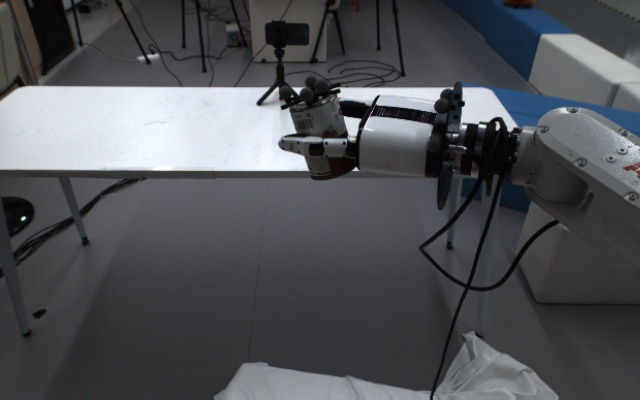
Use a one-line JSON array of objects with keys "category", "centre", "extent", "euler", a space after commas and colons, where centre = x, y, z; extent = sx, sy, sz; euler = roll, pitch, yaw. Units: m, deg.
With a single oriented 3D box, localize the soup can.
[{"category": "soup can", "centre": [0.005, -0.086, 0.650], "extent": [0.067, 0.101, 0.067], "euler": [-16, 23, 7]}]
